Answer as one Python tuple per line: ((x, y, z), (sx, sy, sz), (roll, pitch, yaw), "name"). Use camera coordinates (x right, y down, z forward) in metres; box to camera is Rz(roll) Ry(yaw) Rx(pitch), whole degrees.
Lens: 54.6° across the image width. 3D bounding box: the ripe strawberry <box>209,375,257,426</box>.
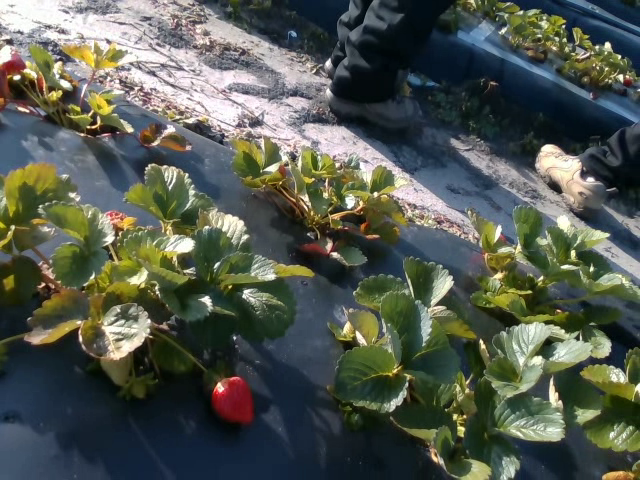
((-0.058, 0.116, 0.433), (0.030, 0.045, 0.033), (-35, -35, -10), "ripe strawberry")
